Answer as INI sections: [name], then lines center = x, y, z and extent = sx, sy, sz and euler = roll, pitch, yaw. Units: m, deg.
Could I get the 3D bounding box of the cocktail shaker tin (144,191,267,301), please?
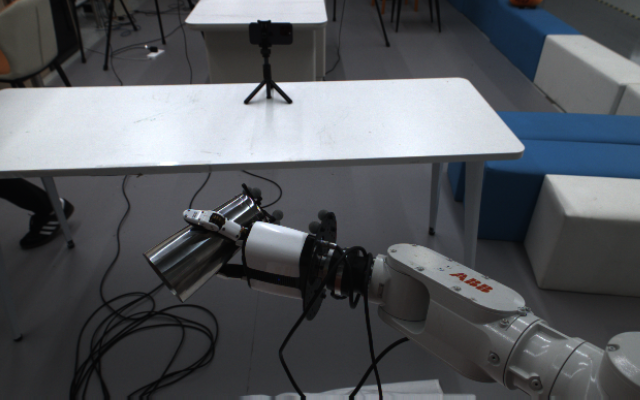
[cocktail shaker tin]
center = -0.168, 0.062, 0.730
extent = 0.170, 0.093, 0.093
euler = -38, 49, -23
